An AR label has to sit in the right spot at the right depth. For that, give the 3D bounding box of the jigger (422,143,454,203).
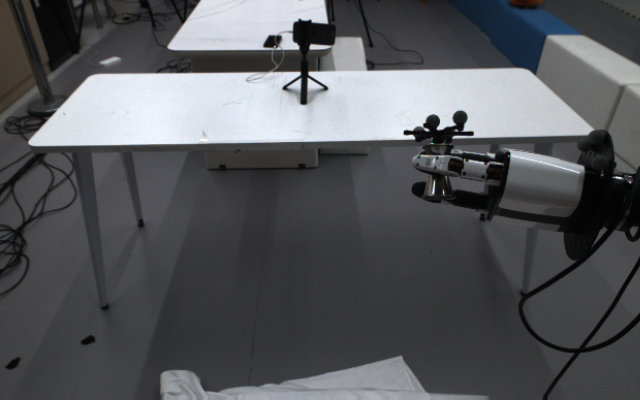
[{"bbox_3d":[0.150,-0.037,0.626,0.043,0.071,0.043,2,-6,0],"label":"jigger"}]
